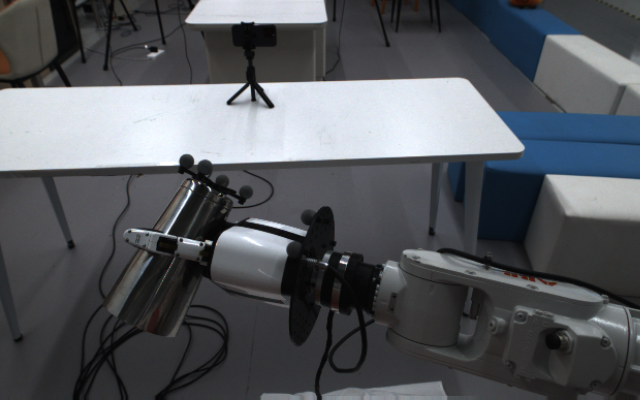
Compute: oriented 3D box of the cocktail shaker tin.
[{"bbox_3d":[-0.170,0.062,0.576,0.093,0.093,0.170,22,81,26],"label":"cocktail shaker tin"}]
